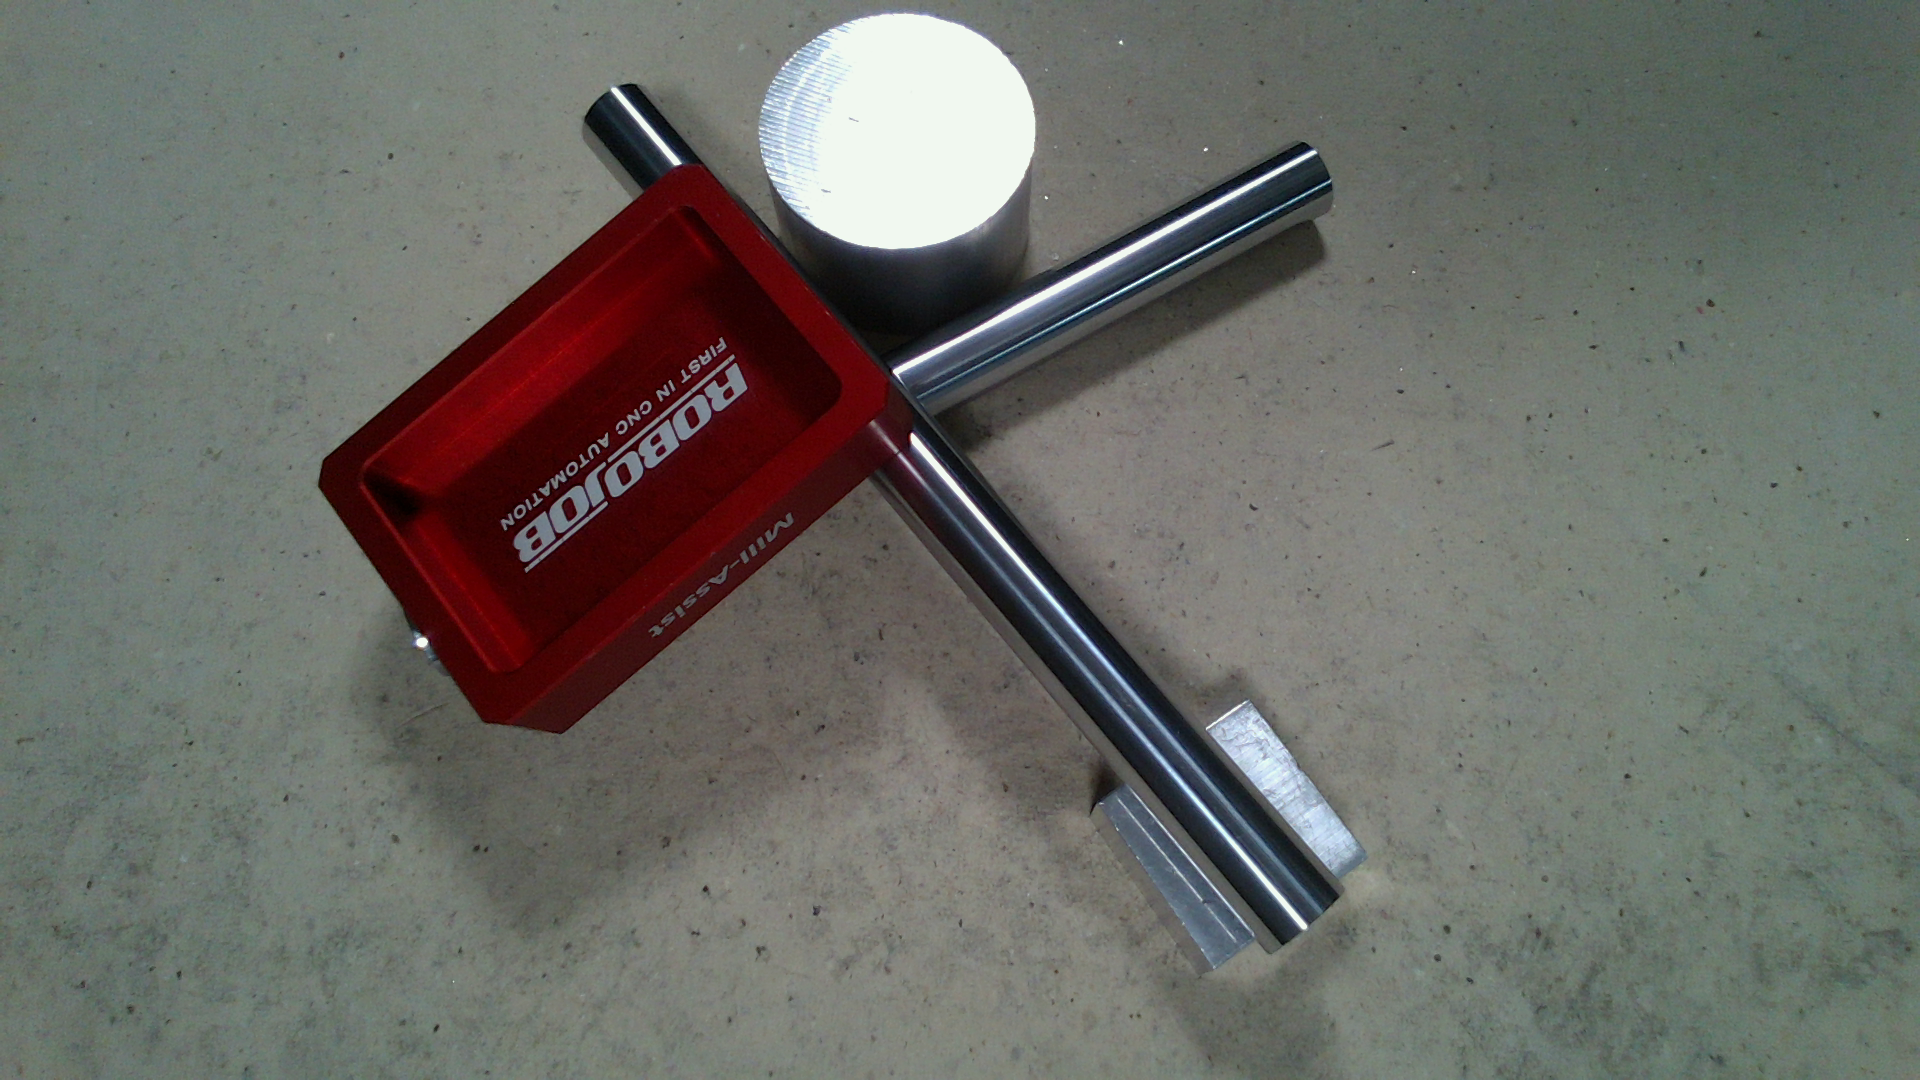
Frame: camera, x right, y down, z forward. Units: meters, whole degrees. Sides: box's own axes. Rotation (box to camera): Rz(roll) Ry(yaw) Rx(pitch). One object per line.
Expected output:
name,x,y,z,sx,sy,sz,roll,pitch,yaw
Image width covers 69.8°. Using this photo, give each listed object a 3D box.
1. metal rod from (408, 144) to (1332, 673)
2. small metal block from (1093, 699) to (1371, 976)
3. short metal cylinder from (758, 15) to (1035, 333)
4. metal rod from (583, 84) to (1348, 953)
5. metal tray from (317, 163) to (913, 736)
metal rod,-0.020,-0.043,0.411,0.300,0.025,0.025,-28,72,-10
small metal block,0.070,0.079,0.366,0.050,0.025,0.050,-32,73,-11
short metal cylinder,-0.018,-0.111,0.421,0.080,0.050,0.080,0,70,0
metal rod,-0.009,-0.017,0.375,0.025,0.025,0.300,-37,74,-12
metal tray,-0.089,-0.024,0.359,0.130,0.030,0.090,-41,74,-1
